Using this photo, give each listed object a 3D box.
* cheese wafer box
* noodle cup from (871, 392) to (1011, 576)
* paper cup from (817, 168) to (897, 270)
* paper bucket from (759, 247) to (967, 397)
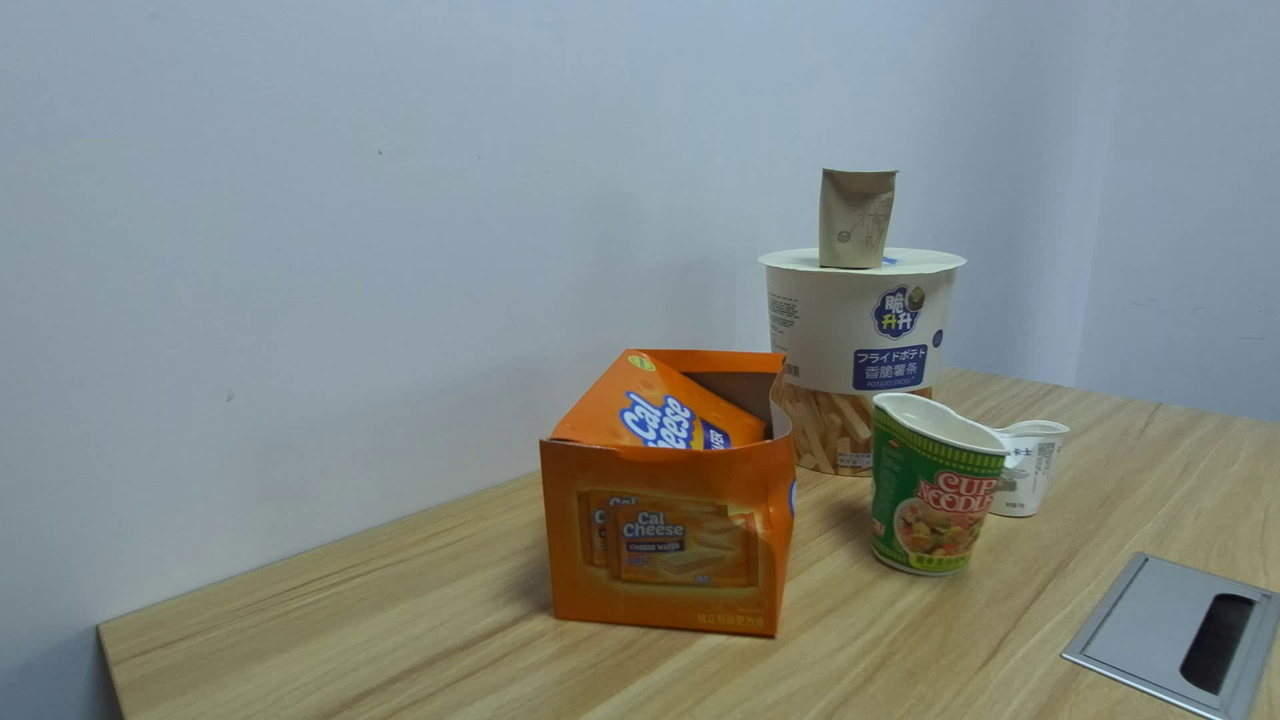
[{"bbox_3d":[0.035,0.083,0.522,0.152,0.132,0.231,4,15,11],"label":"cheese wafer box"},{"bbox_3d":[0.204,0.087,0.503,0.070,0.111,0.115,-2,17,8],"label":"noodle cup"},{"bbox_3d":[0.188,-0.124,0.618,0.066,0.084,0.072,2,11,14],"label":"paper cup"},{"bbox_3d":[0.206,-0.003,0.691,0.198,0.194,0.198,-1,16,1],"label":"paper bucket"}]
